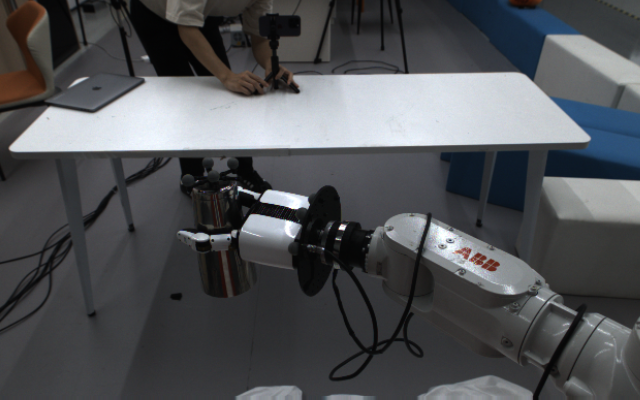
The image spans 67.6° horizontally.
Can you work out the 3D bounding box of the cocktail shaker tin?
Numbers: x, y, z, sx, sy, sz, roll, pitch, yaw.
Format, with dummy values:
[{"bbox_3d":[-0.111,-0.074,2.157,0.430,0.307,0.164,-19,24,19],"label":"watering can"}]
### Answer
[{"bbox_3d":[-0.149,0.052,0.742,0.093,0.170,0.093,-3,25,1],"label":"cocktail shaker tin"}]
